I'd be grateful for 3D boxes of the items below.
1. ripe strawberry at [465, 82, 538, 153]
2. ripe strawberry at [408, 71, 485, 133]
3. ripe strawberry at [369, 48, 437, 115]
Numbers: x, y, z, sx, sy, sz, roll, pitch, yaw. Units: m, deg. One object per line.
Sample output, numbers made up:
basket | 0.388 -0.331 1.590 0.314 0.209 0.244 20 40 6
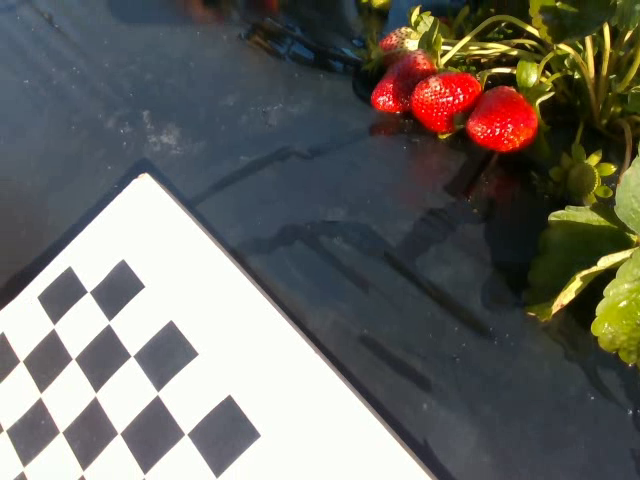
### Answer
ripe strawberry | 0.079 -0.054 0.284 0.041 0.034 0.035 -12 38 -45
ripe strawberry | 0.060 -0.071 0.297 0.039 0.037 0.031 10 34 -47
ripe strawberry | 0.044 -0.083 0.318 0.045 0.023 0.031 -38 54 -16
